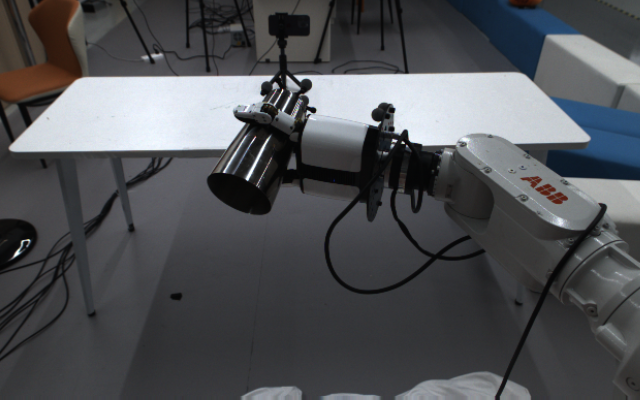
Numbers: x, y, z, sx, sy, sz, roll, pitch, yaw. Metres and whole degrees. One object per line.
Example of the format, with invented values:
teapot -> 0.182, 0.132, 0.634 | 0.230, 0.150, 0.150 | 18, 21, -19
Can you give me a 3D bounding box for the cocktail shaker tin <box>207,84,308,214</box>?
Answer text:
cocktail shaker tin -> -0.080, -0.076, 0.674 | 0.093, 0.093, 0.170 | 13, 57, 16
